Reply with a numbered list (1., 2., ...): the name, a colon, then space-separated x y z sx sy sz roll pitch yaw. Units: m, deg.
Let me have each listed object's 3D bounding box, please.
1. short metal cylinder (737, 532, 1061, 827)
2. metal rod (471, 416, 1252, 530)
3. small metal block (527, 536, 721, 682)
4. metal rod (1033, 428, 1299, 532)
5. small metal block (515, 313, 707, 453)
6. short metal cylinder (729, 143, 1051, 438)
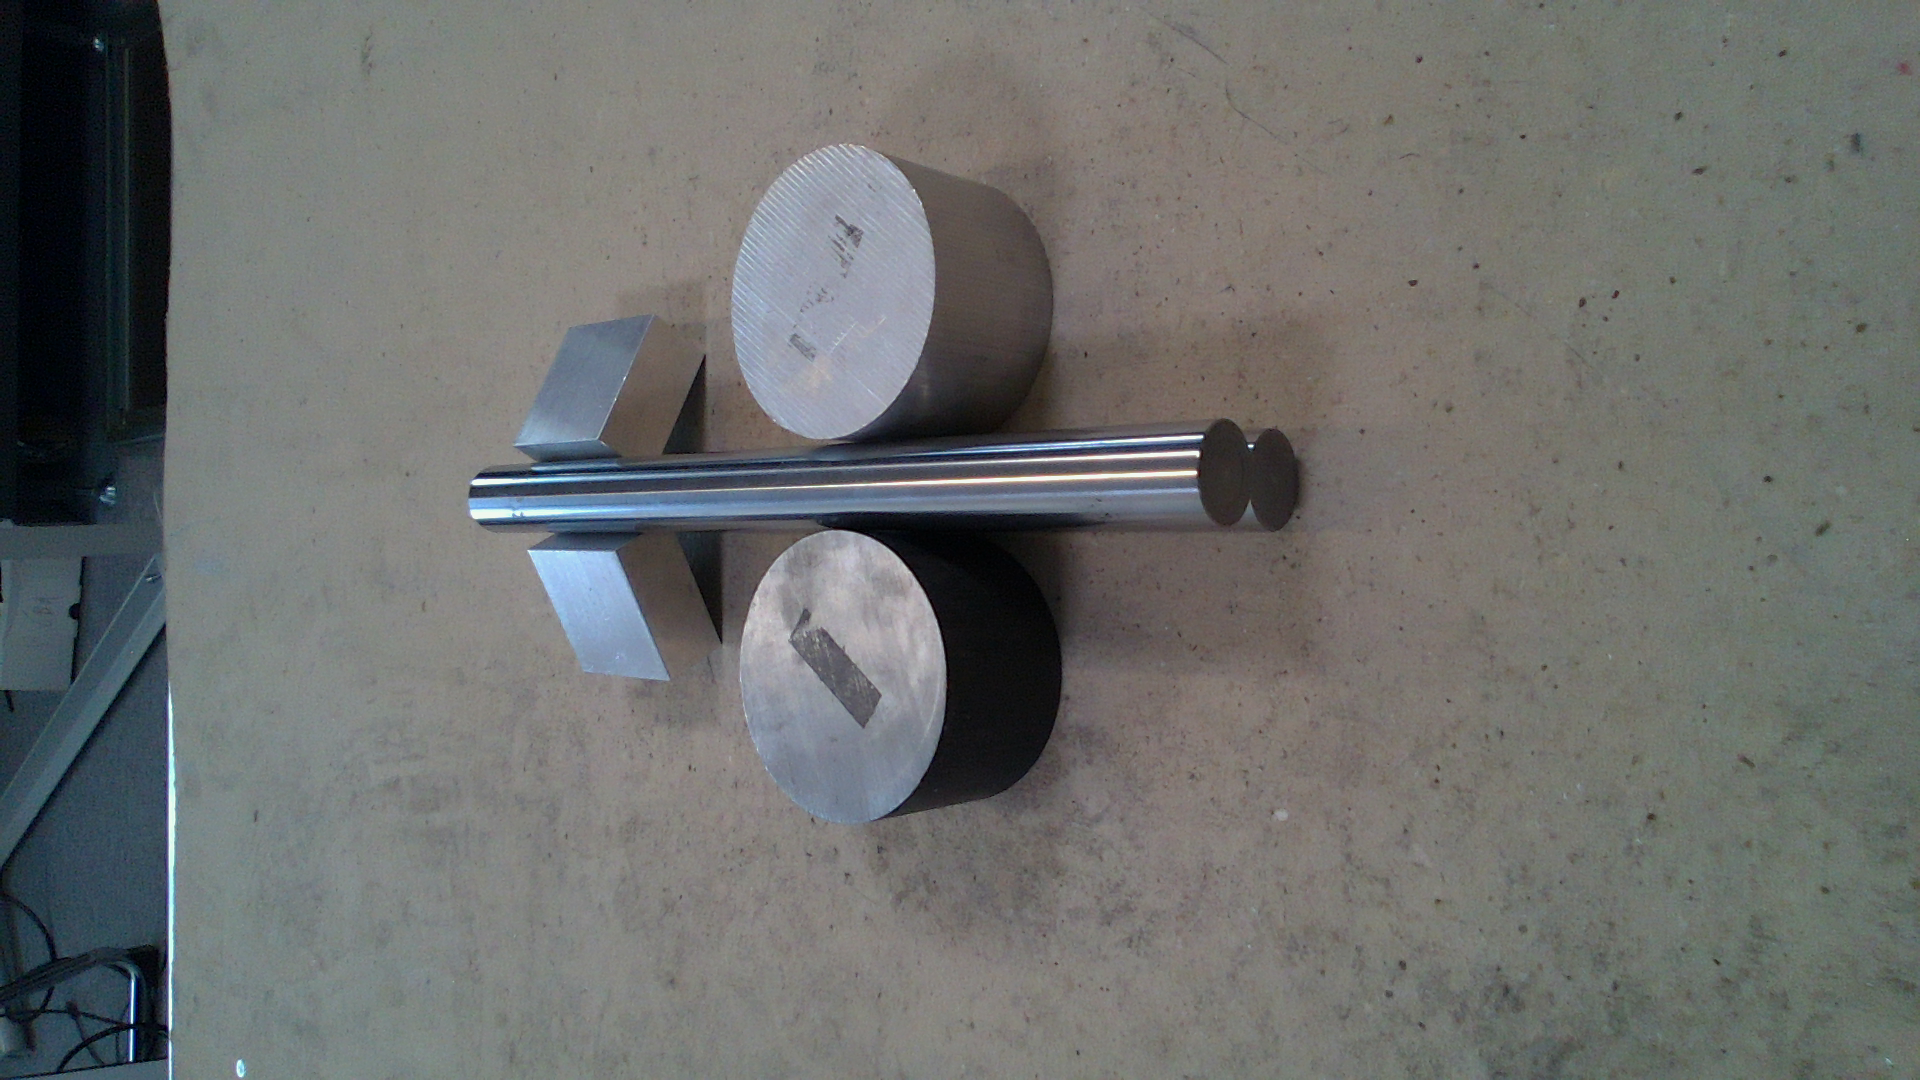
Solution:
1. short metal cylinder: -0.018 0.038 0.394 0.080 0.050 0.080 0 90 40
2. metal rod: -0.054 -0.016 0.408 0.299 0.025 0.025 0 90 40
3. small metal block: -0.117 0.020 0.481 0.050 0.025 0.050 1 117 40
4. metal rod: -0.038 -0.015 0.427 0.299 0.025 0.025 0 90 40
5. small metal block: -0.124 -0.050 0.487 0.050 0.025 0.050 0 63 40
6. short metal cylinder: -0.021 -0.068 0.396 0.080 0.050 0.080 0 90 40
